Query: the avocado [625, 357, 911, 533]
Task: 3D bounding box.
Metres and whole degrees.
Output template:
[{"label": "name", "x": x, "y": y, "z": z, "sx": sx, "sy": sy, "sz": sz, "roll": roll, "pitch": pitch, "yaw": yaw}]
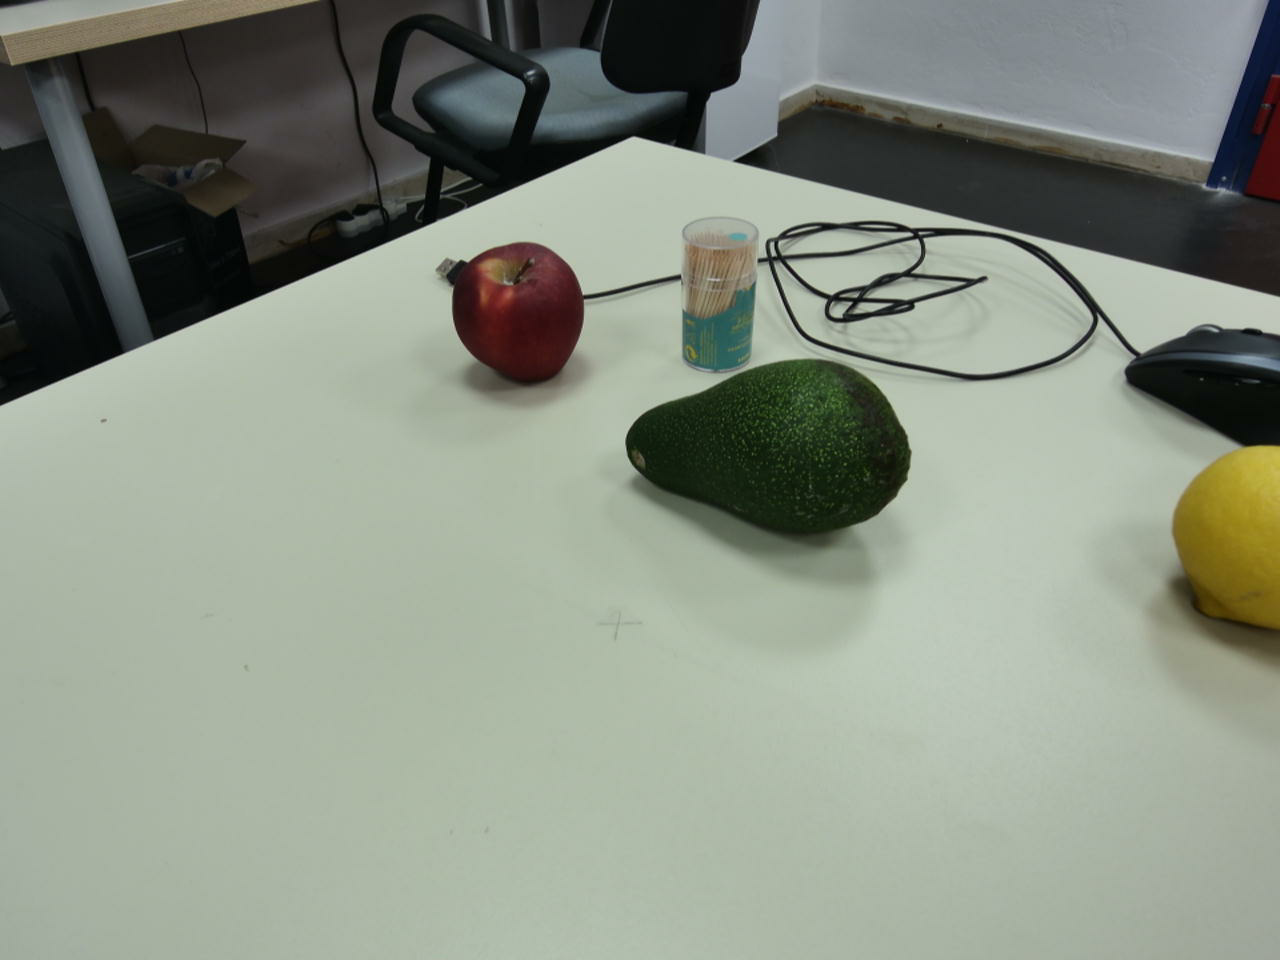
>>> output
[{"label": "avocado", "x": 0.057, "y": -0.021, "z": 0.427, "sx": 0.074, "sy": 0.076, "sz": 0.123, "roll": -30, "pitch": 45, "yaw": -33}]
